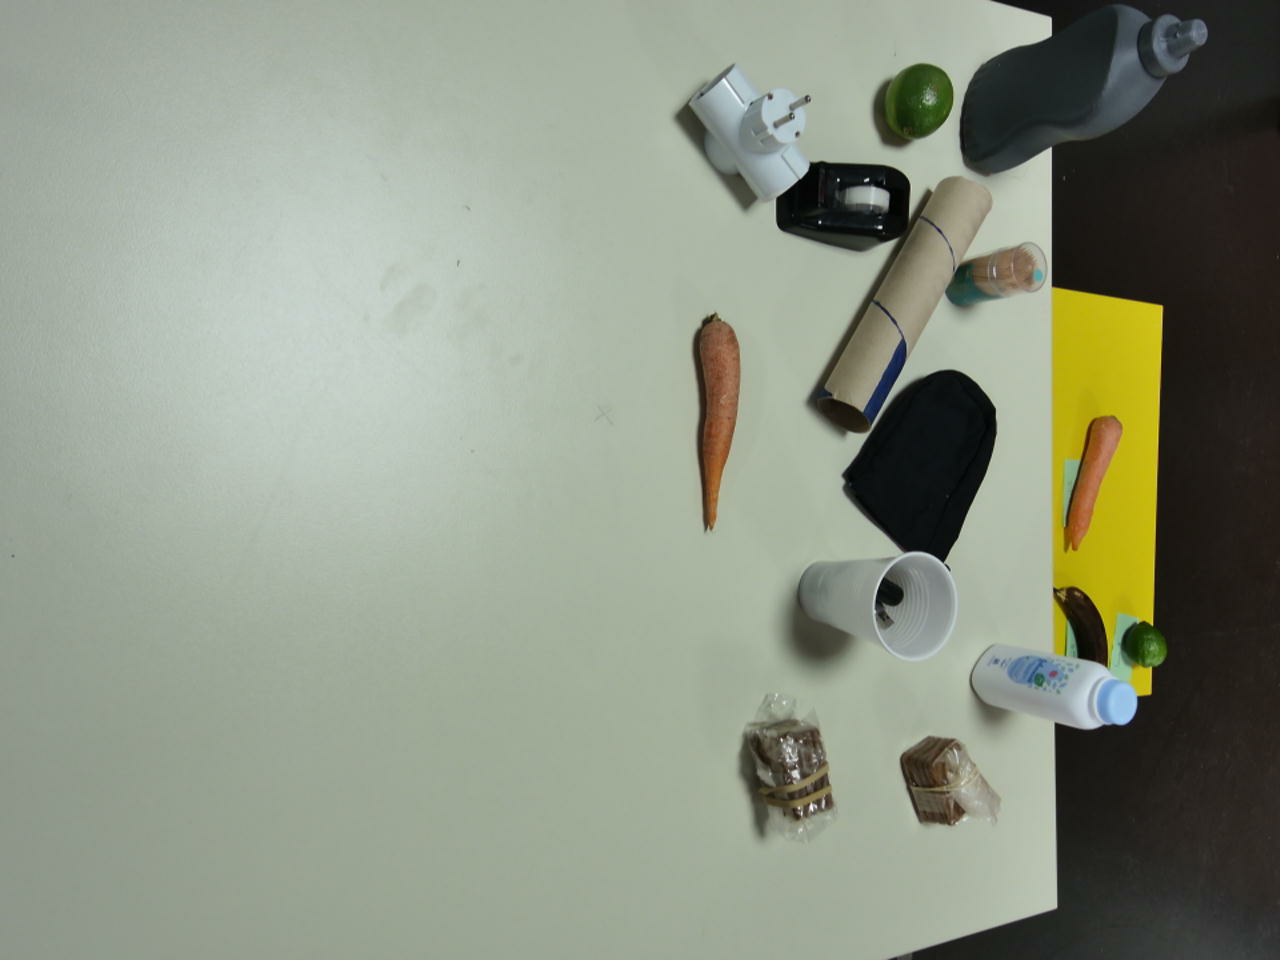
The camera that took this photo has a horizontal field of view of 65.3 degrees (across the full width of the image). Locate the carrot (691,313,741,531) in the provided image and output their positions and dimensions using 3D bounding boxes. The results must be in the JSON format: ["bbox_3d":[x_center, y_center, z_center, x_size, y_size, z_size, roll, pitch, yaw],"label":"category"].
[{"bbox_3d":[0.059,-0.042,0.734,0.031,0.029,0.163,-1,91,-28],"label":"carrot"}]
